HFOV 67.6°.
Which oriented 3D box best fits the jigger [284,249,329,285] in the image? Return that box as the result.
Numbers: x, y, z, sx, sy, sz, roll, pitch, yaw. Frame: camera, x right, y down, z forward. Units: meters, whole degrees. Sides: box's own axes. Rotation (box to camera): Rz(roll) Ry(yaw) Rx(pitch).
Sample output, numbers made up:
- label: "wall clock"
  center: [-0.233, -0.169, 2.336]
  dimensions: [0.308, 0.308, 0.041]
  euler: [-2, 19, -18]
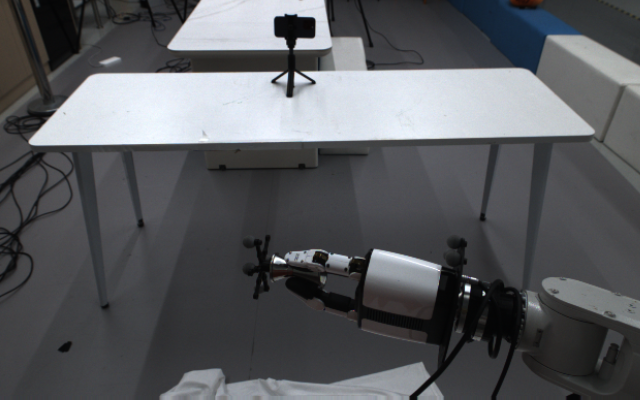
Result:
- label: "jigger"
  center: [-0.020, 0.087, 0.633]
  dimensions: [0.071, 0.043, 0.043]
  euler: [2, 34, 12]
